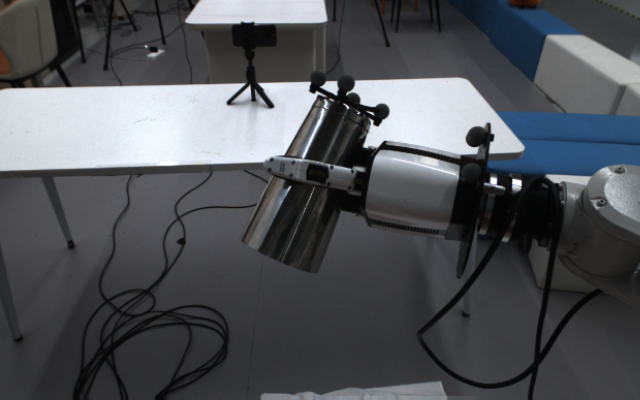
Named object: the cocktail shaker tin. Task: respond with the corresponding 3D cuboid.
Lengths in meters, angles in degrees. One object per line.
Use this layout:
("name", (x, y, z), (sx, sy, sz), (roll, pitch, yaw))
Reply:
("cocktail shaker tin", (-0.007, -0.021, 0.520), (0.093, 0.170, 0.093), (23, 0, 0))
